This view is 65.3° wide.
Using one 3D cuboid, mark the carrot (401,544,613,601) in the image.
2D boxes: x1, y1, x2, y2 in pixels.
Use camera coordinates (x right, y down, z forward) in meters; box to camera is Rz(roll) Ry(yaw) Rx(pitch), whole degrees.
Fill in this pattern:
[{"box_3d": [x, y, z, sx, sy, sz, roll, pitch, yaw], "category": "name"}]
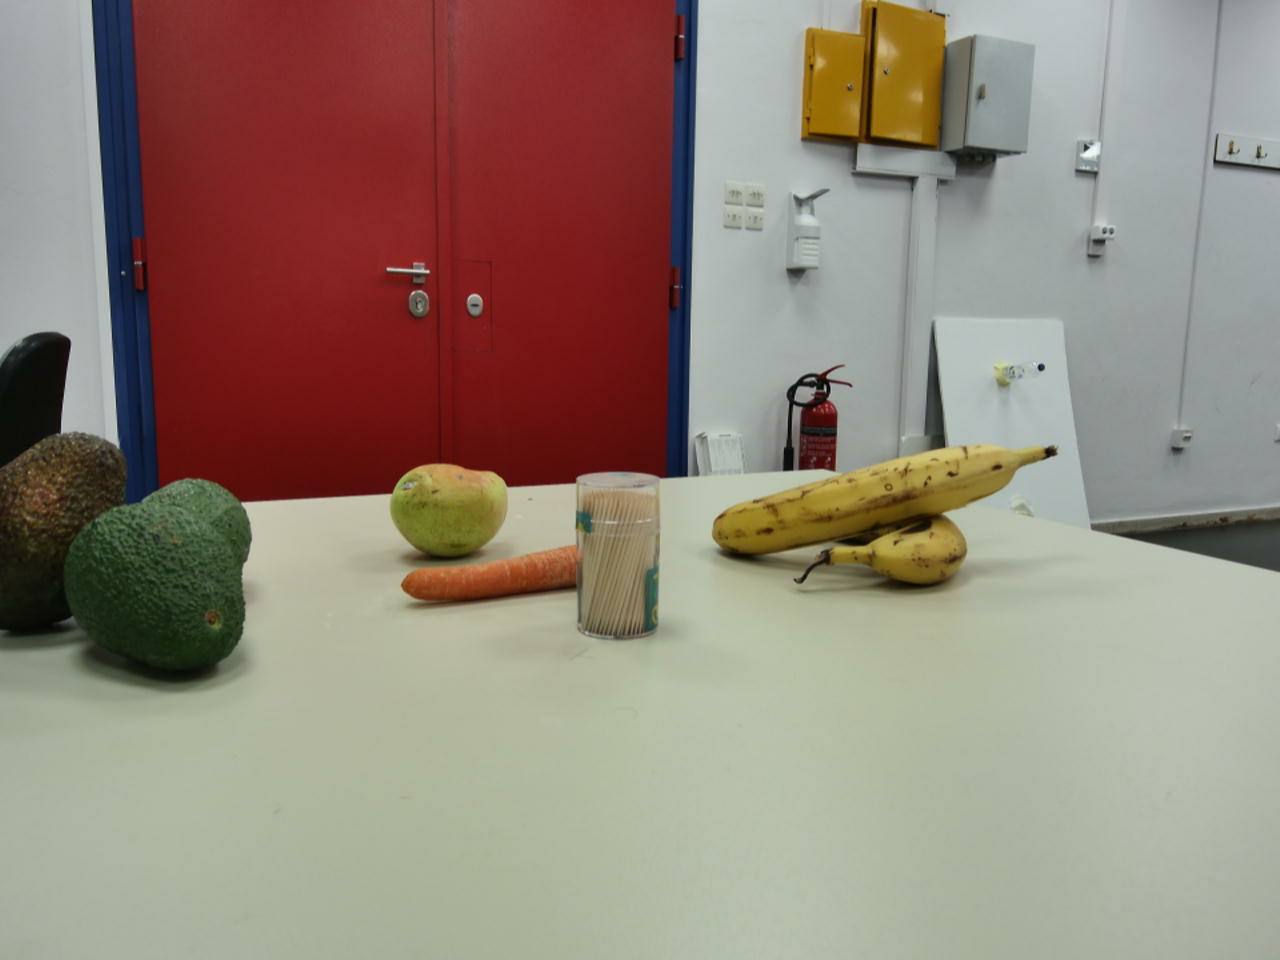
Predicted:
[{"box_3d": [-0.070, 0.051, 0.551, 0.122, 0.023, 0.024, -4, 8, -28], "category": "carrot"}]
